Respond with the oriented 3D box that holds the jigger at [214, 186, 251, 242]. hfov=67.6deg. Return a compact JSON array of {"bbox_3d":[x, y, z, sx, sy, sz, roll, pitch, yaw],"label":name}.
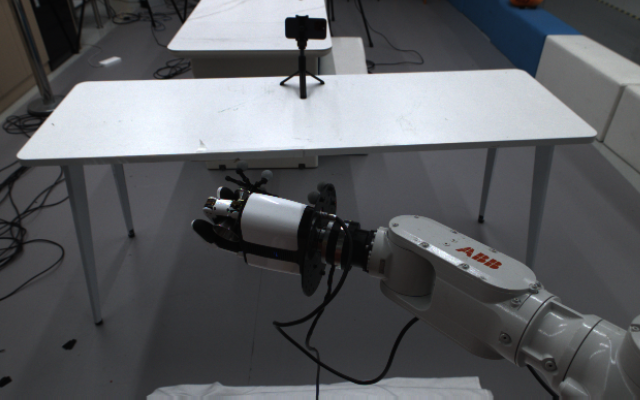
[{"bbox_3d":[-0.121,0.020,0.707,0.043,0.043,0.071,15,59,18],"label":"jigger"}]
